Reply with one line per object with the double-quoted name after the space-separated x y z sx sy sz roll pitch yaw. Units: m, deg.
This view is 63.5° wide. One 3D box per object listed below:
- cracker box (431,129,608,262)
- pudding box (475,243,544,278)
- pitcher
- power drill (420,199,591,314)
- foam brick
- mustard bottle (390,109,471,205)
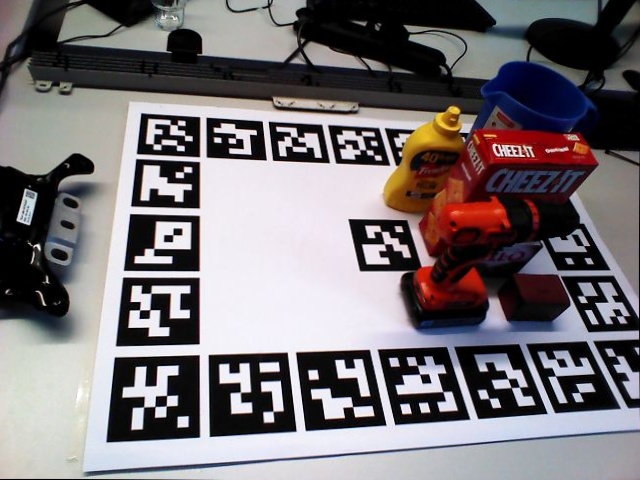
0.274 -0.056 0.745 0.164 0.215 0.071 -2 52 -11 "cracker box"
0.262 0.015 0.757 0.114 0.090 0.038 1 52 -9 "pudding box"
0.310 -0.139 0.809 0.189 0.244 0.132 5 53 -6 "pitcher"
0.220 0.022 0.655 0.184 0.188 0.057 1 50 -13 "power drill"
0.319 0.088 0.757 0.078 0.051 0.052 3 55 -10 "foam brick"
0.178 -0.135 0.792 0.096 0.192 0.058 12 53 -3 "mustard bottle"
